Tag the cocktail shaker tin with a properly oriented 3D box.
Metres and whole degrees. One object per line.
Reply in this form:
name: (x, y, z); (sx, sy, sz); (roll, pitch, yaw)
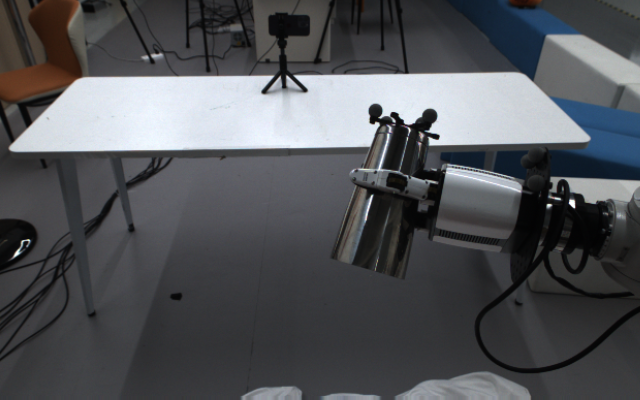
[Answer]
cocktail shaker tin: (0.078, 0.000, 0.583); (0.093, 0.170, 0.093); (16, -6, 2)
